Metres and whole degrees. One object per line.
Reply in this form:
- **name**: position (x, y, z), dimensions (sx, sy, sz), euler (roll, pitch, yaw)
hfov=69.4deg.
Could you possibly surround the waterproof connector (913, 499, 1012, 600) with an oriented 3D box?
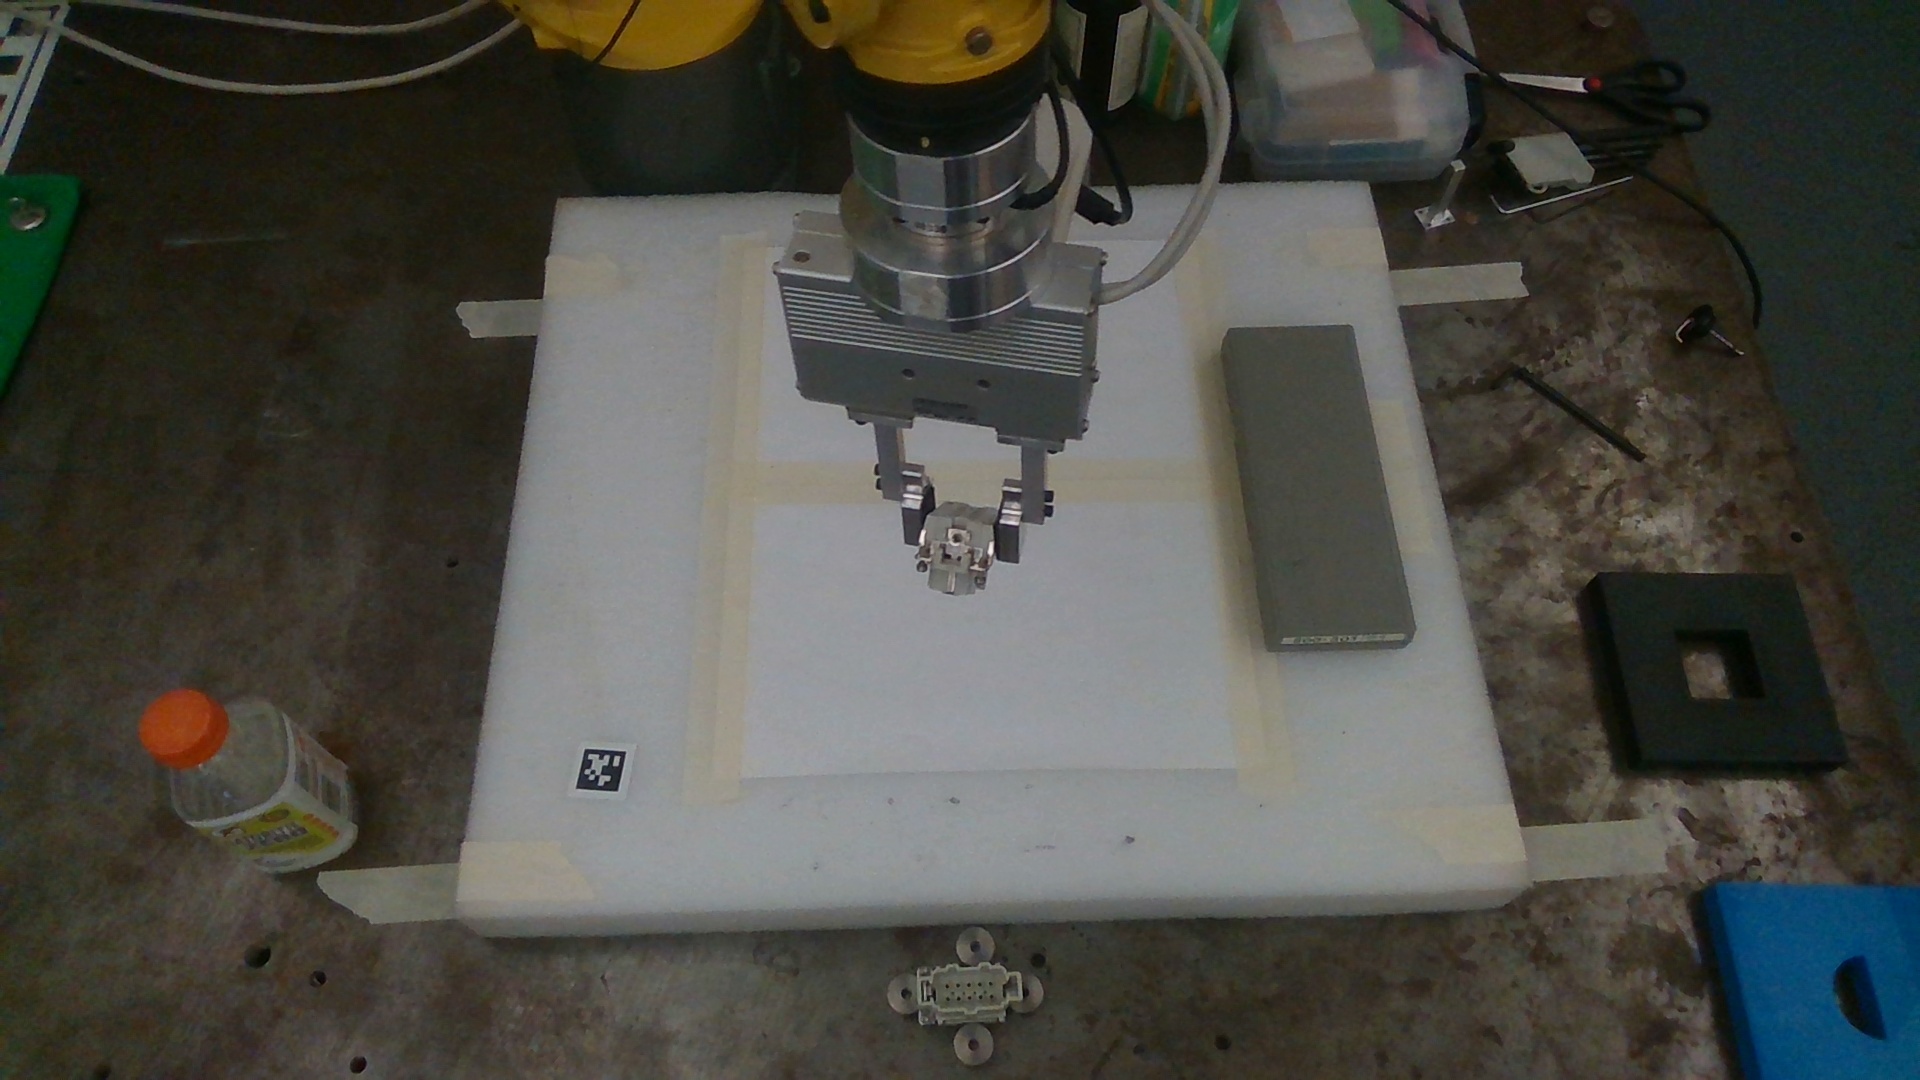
- **waterproof connector**: position (0.002, 0.004, 0.639), dimensions (0.037, 0.069, 0.038), euler (10, 100, 8)
